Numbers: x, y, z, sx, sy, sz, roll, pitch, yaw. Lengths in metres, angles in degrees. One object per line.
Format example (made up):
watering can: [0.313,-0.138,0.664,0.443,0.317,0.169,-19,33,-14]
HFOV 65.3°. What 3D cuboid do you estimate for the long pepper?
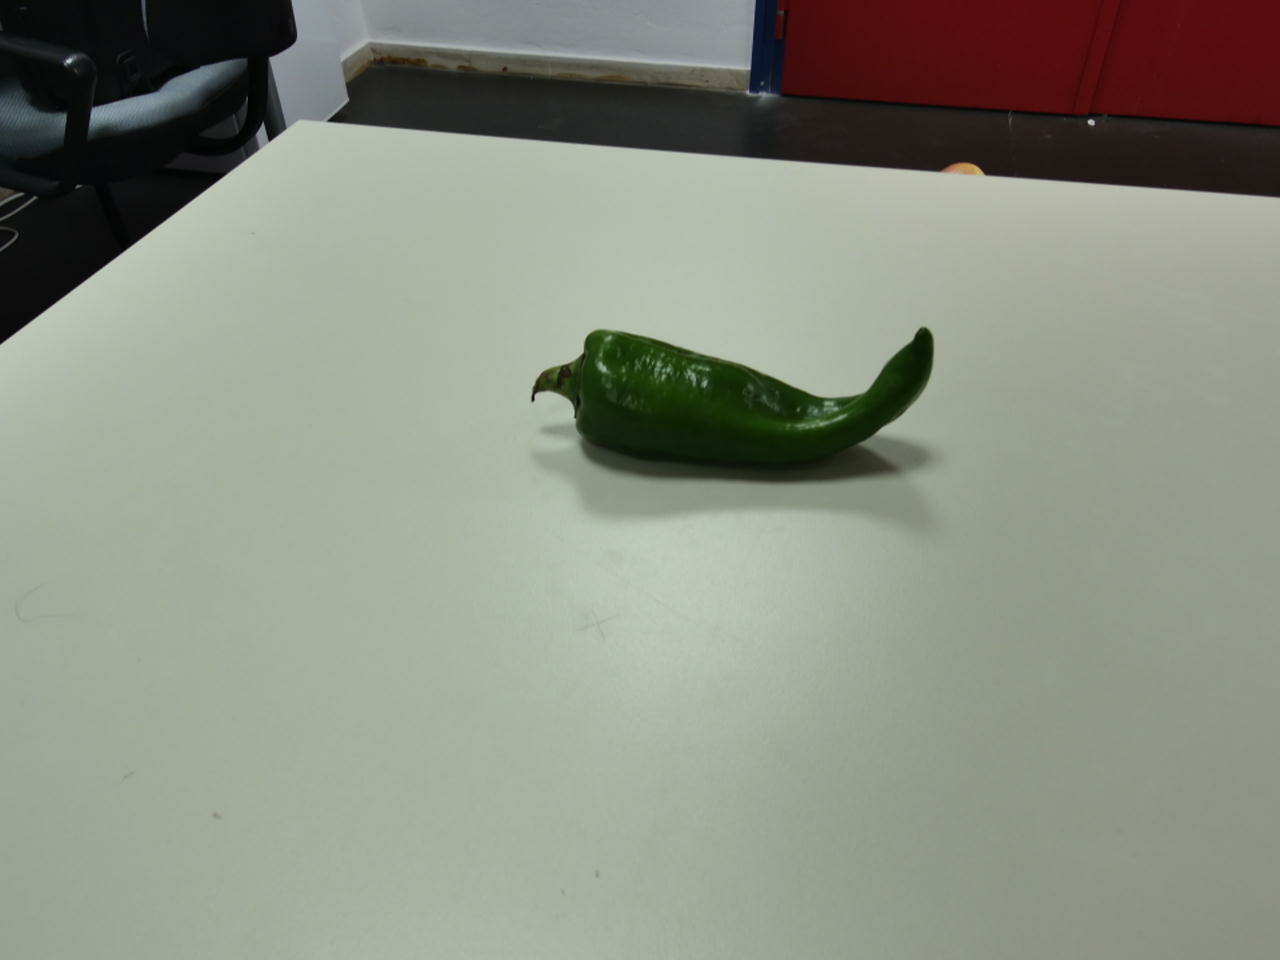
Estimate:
long pepper: [0.036,-0.041,0.439,0.175,0.065,0.058,7,39,10]
